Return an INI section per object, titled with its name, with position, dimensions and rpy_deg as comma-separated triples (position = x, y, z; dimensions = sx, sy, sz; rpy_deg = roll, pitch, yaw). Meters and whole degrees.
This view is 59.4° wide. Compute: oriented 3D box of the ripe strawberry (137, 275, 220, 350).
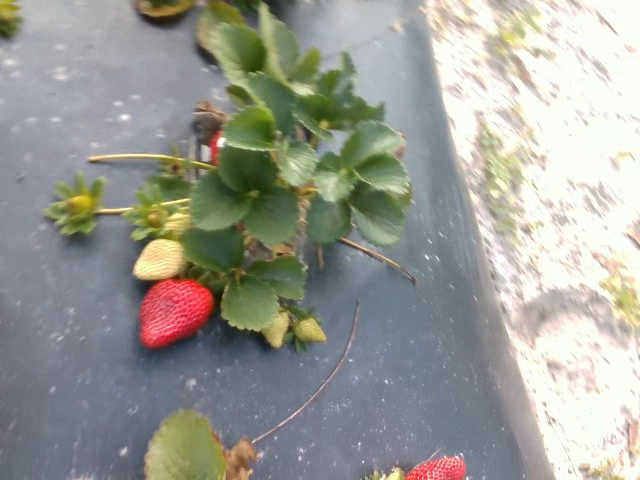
[ripe strawberry]
position = -0.106, 0.052, 0.371
dimensions = 0.051, 0.048, 0.055
rpy_deg = 9, 29, 22
